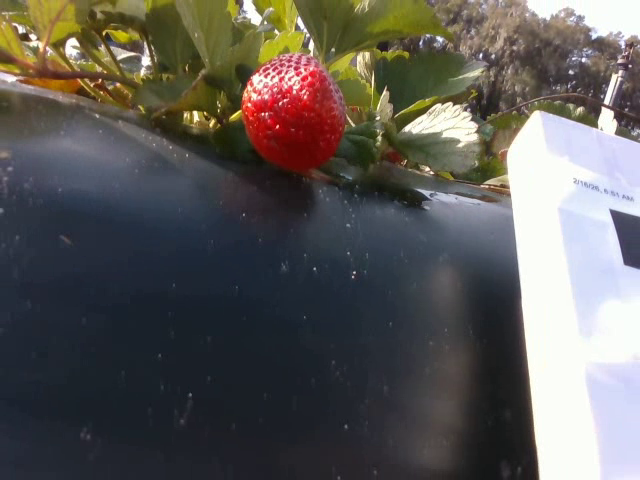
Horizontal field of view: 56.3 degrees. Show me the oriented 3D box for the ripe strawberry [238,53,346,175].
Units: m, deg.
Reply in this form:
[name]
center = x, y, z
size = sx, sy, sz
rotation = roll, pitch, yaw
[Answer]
[ripe strawberry]
center = -0.005, -0.041, 0.178
size = 0.041, 0.041, 0.047
rotation = -16, 2, -17
